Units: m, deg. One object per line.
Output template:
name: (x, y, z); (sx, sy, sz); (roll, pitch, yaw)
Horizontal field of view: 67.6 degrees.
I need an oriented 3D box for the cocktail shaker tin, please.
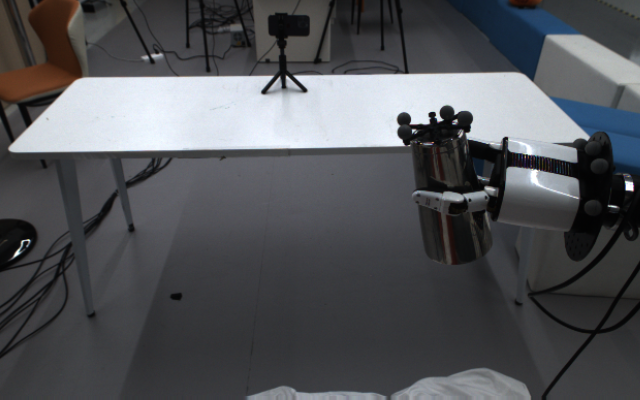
cocktail shaker tin: (0.167, -0.012, 0.628); (0.093, 0.170, 0.093); (-15, 29, 8)
